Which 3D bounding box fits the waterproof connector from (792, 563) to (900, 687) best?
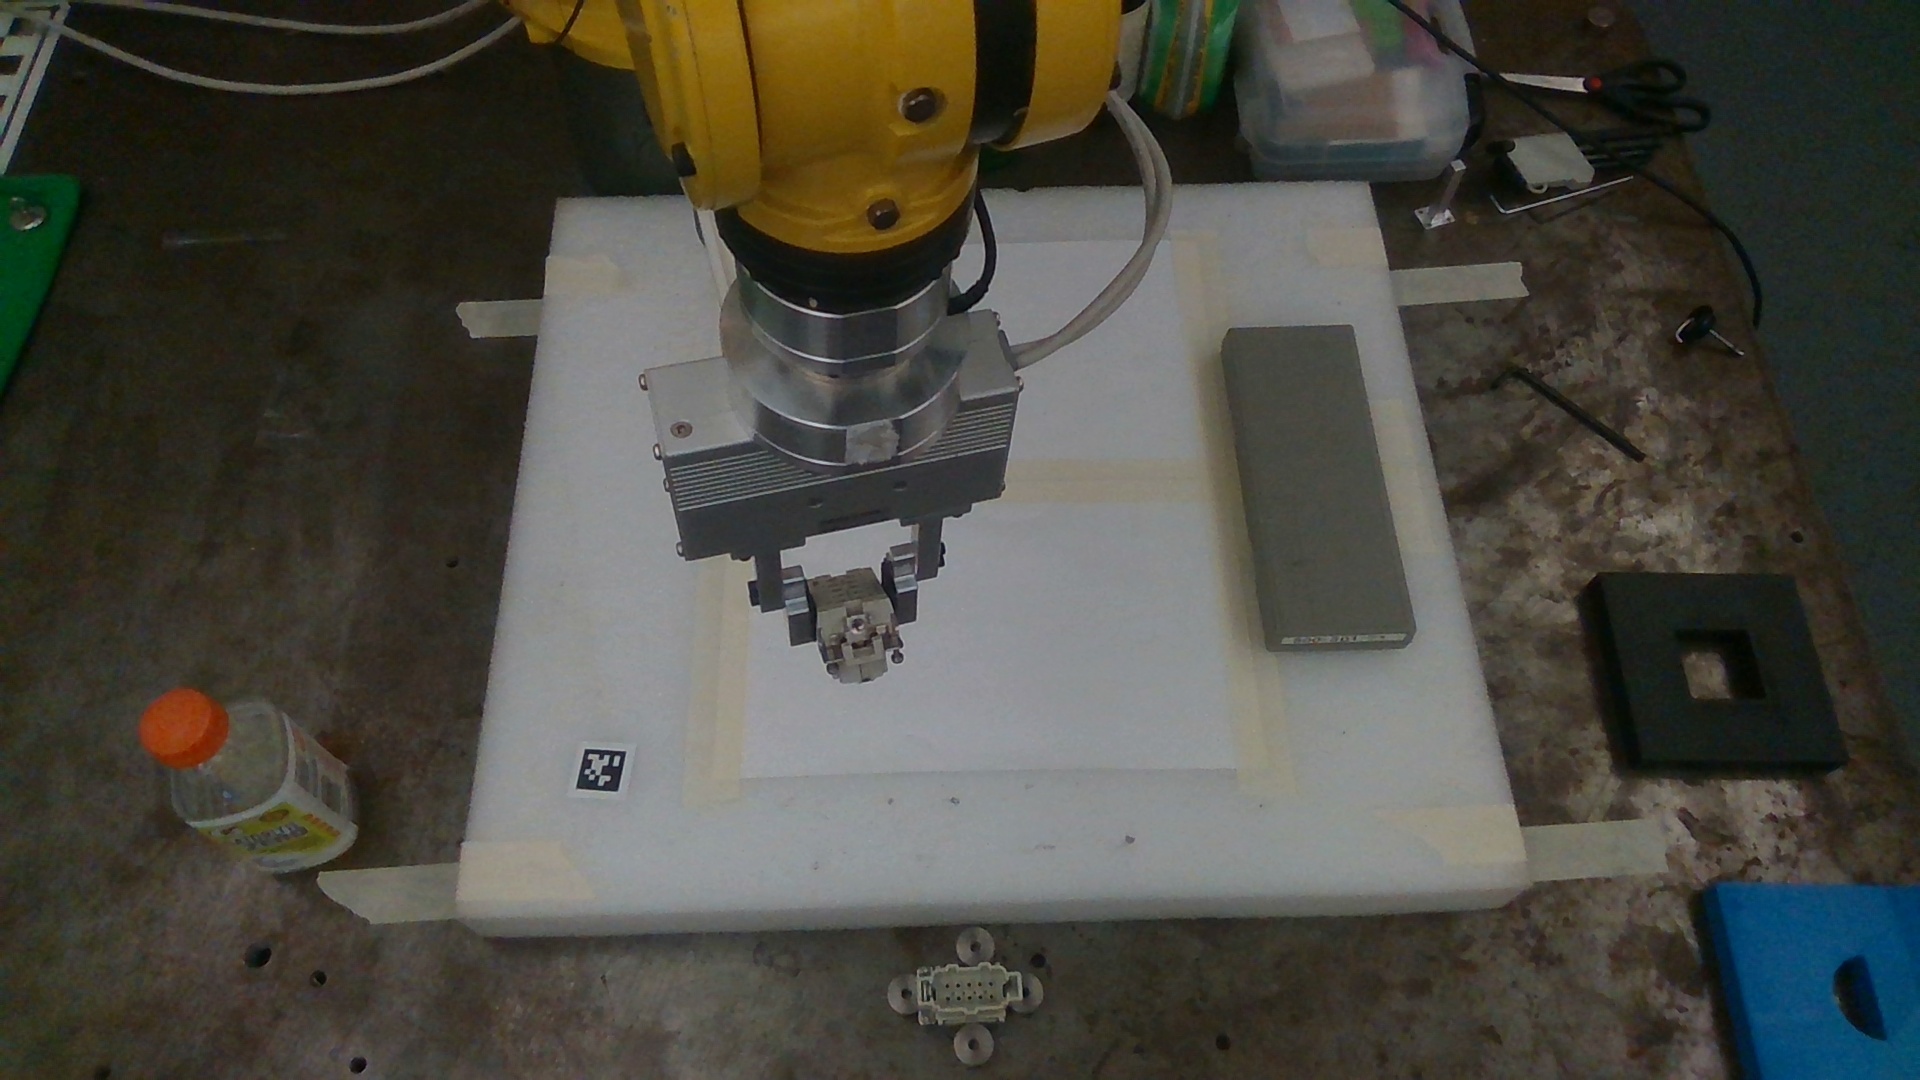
[{"bbox_3d":[-0.049,0.036,0.590,0.036,0.069,0.038,-11,107,-12],"label":"waterproof connector"}]
